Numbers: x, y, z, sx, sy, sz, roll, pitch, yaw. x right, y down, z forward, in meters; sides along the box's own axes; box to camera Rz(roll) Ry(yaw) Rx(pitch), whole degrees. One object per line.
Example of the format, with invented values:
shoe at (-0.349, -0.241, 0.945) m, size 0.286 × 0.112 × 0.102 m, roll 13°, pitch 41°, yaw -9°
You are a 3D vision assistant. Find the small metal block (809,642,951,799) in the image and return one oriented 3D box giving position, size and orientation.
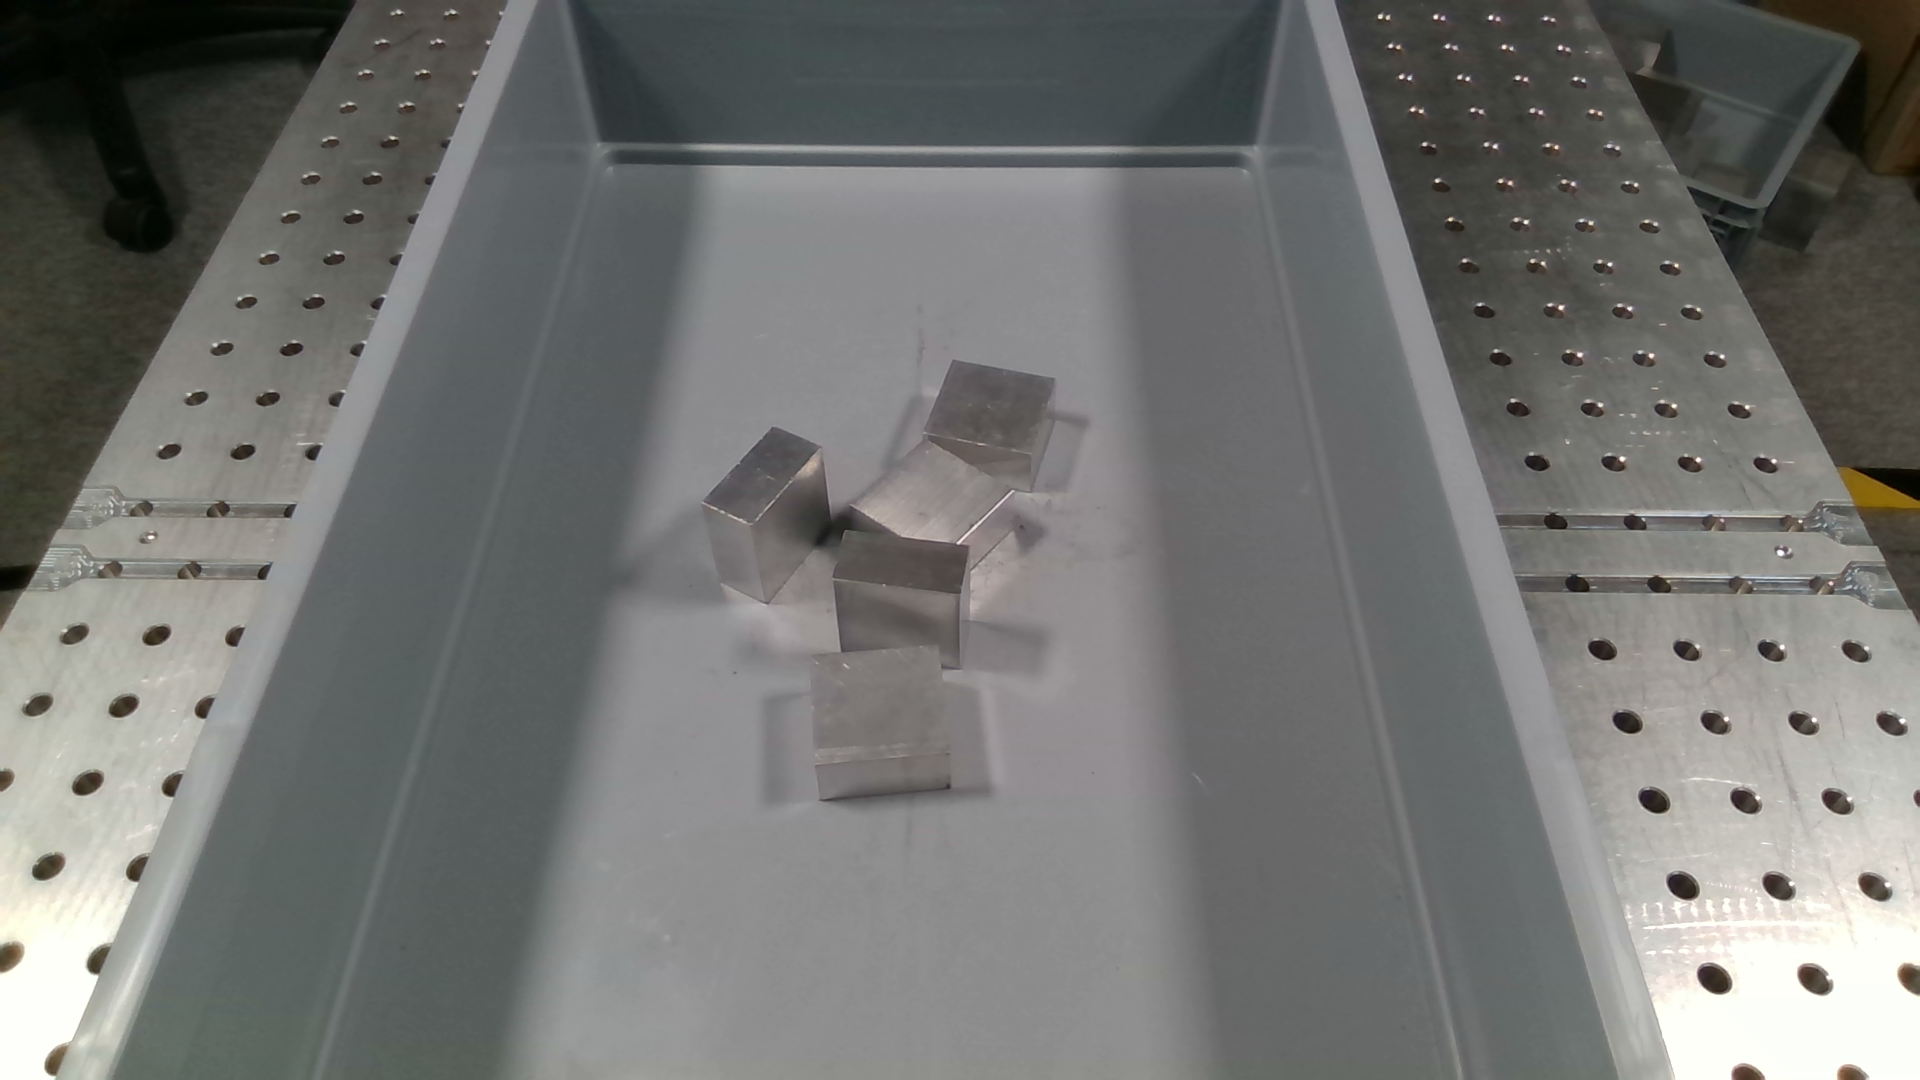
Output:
small metal block at (-0.031, 0.069, 0.527) m, size 0.050 × 0.025 × 0.050 m, roll -4°, pitch 50°, yaw -4°

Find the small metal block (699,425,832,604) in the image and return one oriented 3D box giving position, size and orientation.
small metal block at (-0.080, -0.011, 0.577) m, size 0.025 × 0.050 × 0.050 m, roll 24°, pitch 55°, yaw 20°

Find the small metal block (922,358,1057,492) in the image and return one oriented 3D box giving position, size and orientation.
small metal block at (0.014, -0.053, 0.629) m, size 0.050 × 0.025 × 0.050 m, roll 12°, pitch 51°, yaw 10°

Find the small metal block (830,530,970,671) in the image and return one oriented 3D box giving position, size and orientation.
small metal block at (-0.023, 0.024, 0.549) m, size 0.050 × 0.050 × 0.025 m, roll 7°, pitch 51°, yaw 6°

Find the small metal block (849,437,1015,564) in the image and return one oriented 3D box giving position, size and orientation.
small metal block at (-0.012, -0.010, 0.593) m, size 0.050 × 0.025 × 0.050 m, roll 31°, pitch 57°, yaw 24°
